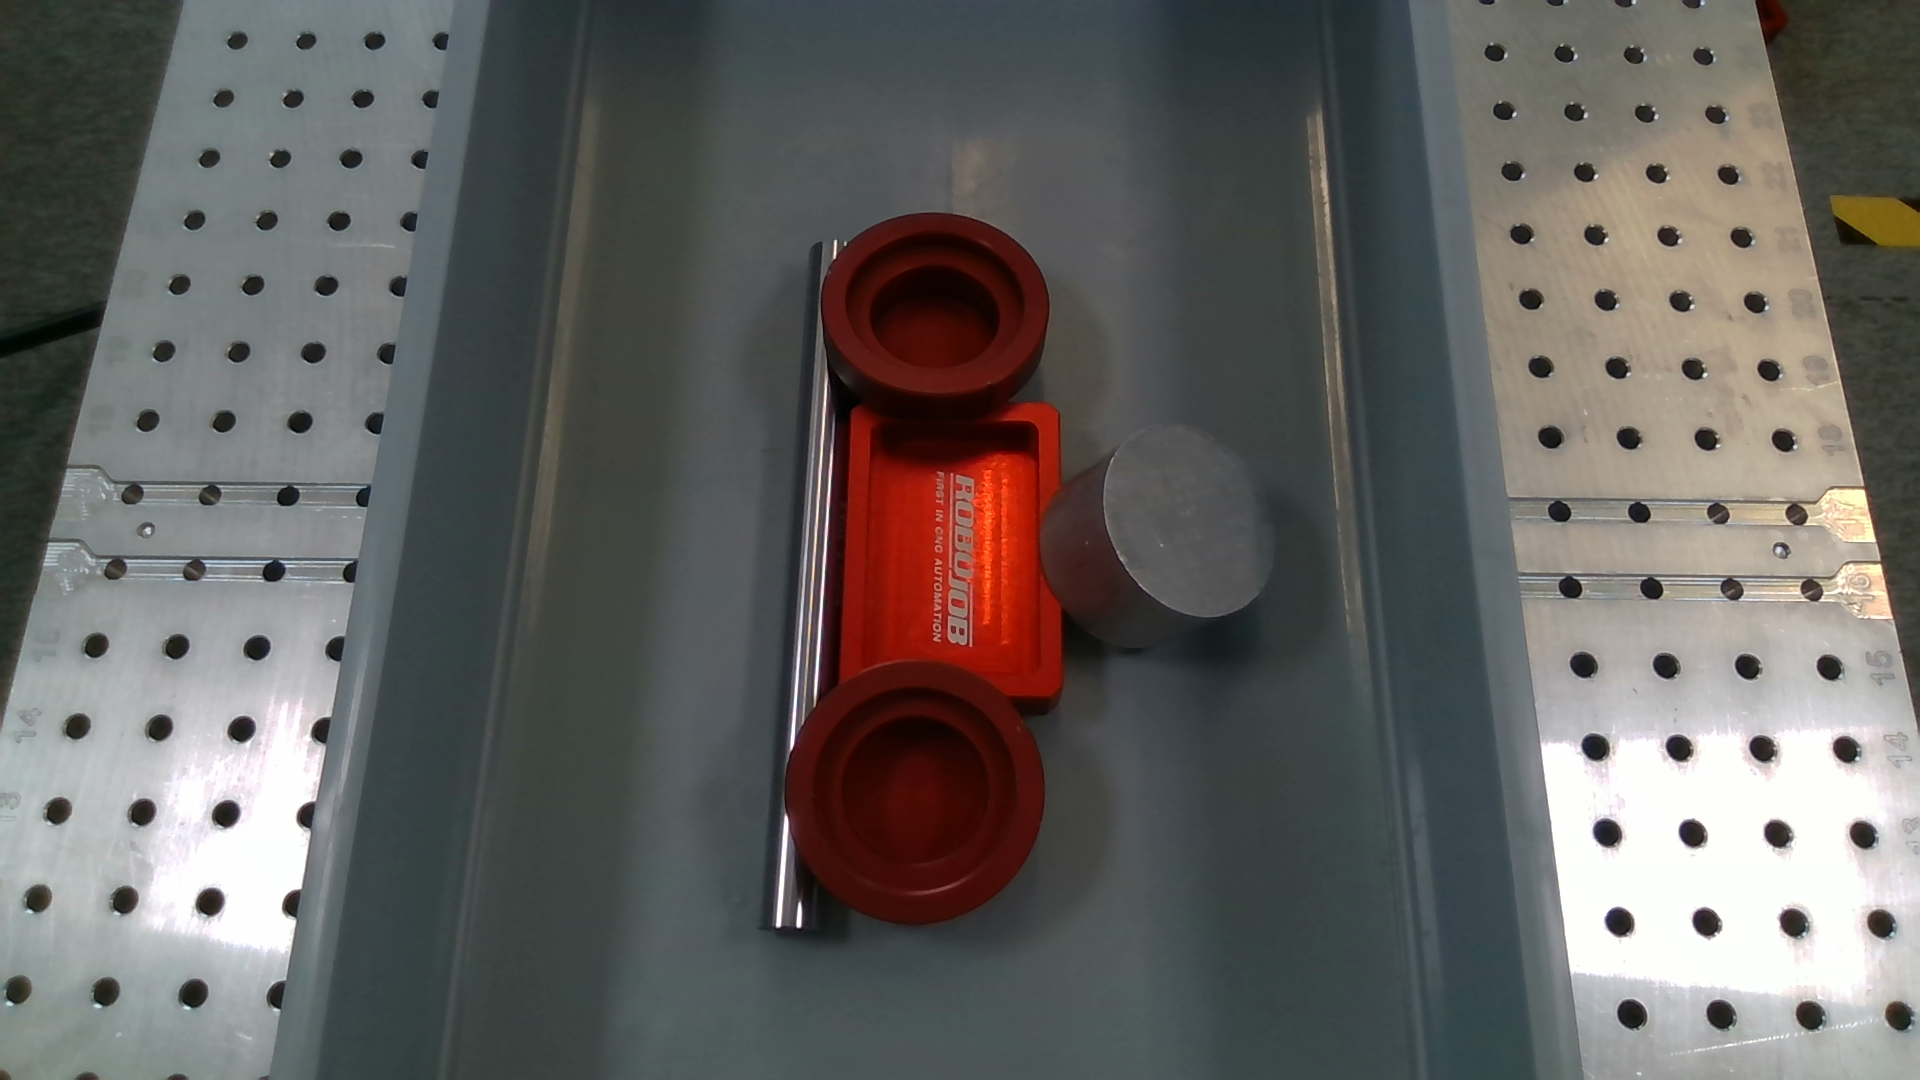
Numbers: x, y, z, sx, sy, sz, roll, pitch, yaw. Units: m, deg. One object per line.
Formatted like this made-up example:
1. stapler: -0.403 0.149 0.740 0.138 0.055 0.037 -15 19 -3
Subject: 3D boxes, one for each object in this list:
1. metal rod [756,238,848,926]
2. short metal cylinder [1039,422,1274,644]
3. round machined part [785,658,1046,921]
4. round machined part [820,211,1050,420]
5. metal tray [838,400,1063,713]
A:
1. metal rod: -0.062 0.009 0.584 0.025 0.025 0.299 2 70 1
2. short metal cylinder: 0.079 -0.001 0.559 0.080 0.050 0.080 10 68 -25
3. round machined part: -0.017 0.097 0.538 0.098 0.042 0.098 0 78 -2
4. round machined part: -0.011 -0.093 0.606 0.098 0.042 0.098 1 62 -2
5. metal tray: -0.003 0.006 0.582 0.090 0.030 0.130 0 71 1
